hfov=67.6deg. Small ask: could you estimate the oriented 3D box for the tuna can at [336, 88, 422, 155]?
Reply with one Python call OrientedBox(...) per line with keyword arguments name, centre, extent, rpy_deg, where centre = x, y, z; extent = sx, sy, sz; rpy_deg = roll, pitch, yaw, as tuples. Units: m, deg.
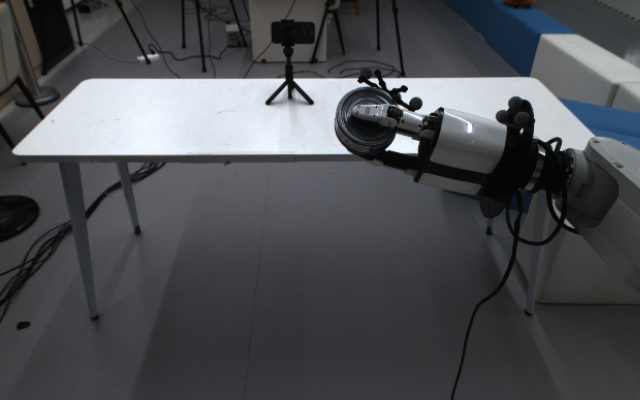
OrientedBox(name="tuna can", centre=(0.067, -0.099, 0.639), extent=(0.085, 0.034, 0.085), rpy_deg=(0, 74, 0))
